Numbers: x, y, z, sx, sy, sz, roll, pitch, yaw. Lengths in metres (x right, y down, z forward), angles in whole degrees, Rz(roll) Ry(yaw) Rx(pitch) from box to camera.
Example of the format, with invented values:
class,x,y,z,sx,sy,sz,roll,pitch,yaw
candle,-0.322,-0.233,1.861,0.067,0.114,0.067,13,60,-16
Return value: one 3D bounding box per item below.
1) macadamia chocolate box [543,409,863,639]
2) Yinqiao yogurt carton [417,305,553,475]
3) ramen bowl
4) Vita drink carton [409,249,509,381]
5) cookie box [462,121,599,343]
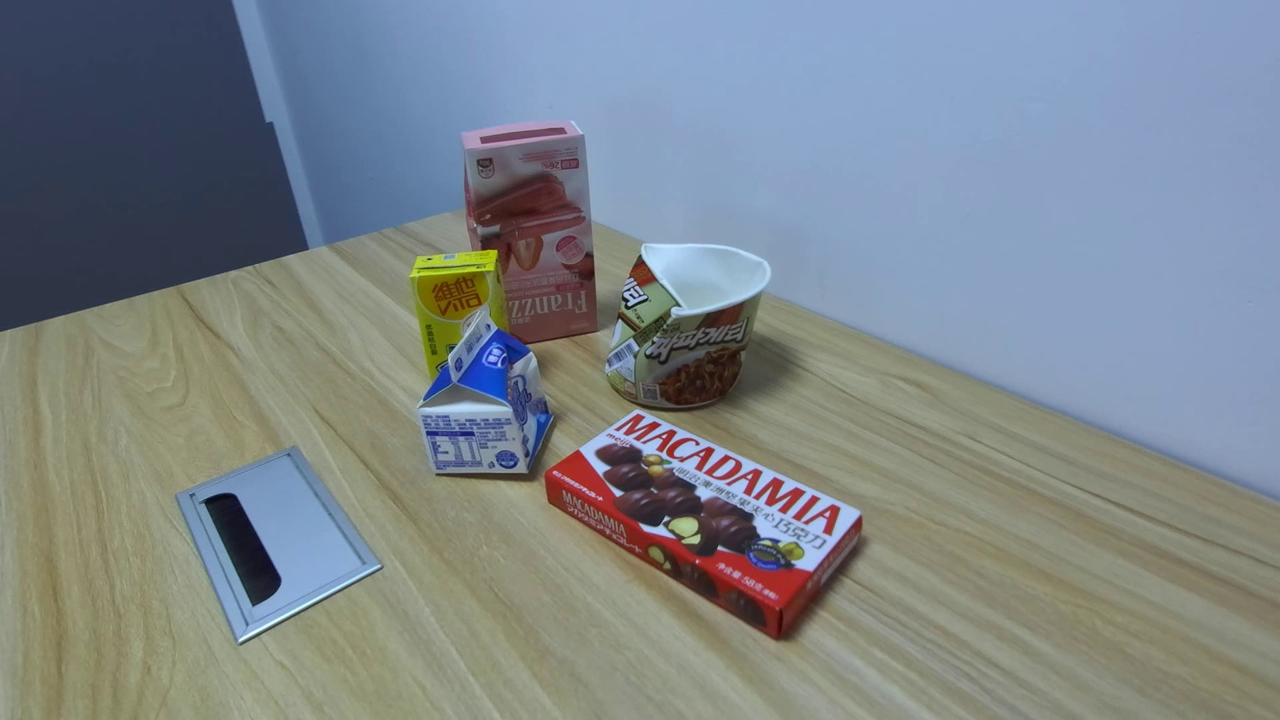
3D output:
class,x,y,z,sx,sy,sz,roll,pitch,yaw
macadamia chocolate box,0.035,0.091,0.441,0.177,0.027,0.096,23,38,35
Yinqiao yogurt carton,-0.110,0.023,0.499,0.071,0.094,0.077,-2,30,12
ramen bowl,0.036,-0.026,0.563,0.137,0.098,0.137,-1,34,1
Vita drink carton,-0.140,-0.027,0.569,0.067,0.109,0.043,-7,26,-6
cookie box,-0.095,-0.107,0.617,0.105,0.188,0.048,-10,34,-11
